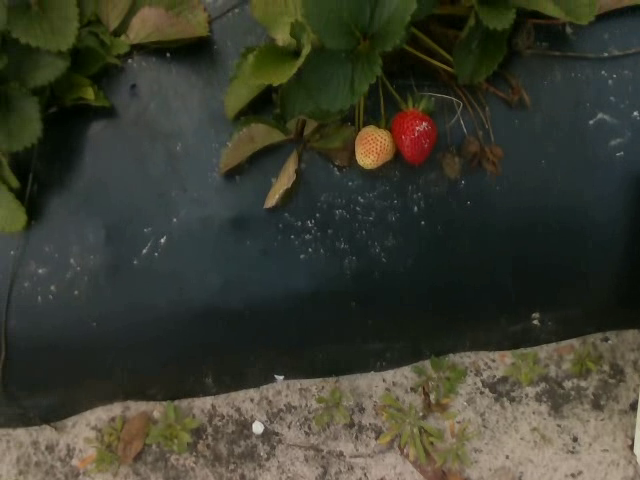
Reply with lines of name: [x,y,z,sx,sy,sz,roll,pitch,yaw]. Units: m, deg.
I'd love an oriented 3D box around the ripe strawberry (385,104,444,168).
ripe strawberry: [0.062,-0.069,0.400,0.034,0.041,0.033,20,-35,-8]
